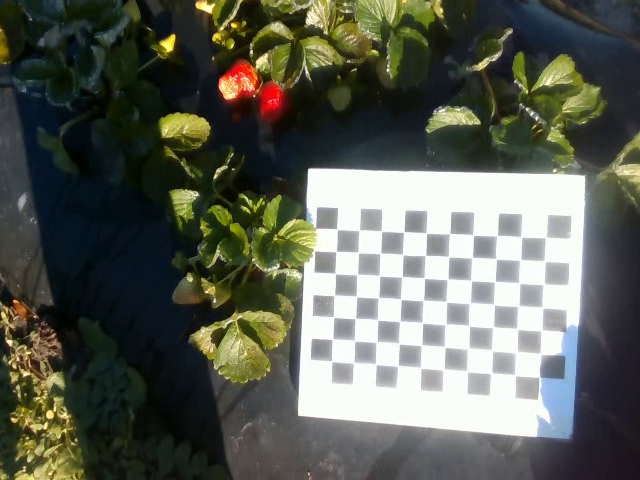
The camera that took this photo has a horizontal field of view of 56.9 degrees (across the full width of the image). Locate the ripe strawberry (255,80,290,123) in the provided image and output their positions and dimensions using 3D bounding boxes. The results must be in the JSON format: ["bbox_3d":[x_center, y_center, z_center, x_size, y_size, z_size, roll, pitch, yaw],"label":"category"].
[{"bbox_3d":[-0.066,-0.189,0.785,0.043,0.059,0.040,2,-5,9],"label":"ripe strawberry"}]

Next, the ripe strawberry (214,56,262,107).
[{"bbox_3d":[-0.112,-0.214,0.802,0.069,0.053,0.040,-41,1,0],"label":"ripe strawberry"}]
